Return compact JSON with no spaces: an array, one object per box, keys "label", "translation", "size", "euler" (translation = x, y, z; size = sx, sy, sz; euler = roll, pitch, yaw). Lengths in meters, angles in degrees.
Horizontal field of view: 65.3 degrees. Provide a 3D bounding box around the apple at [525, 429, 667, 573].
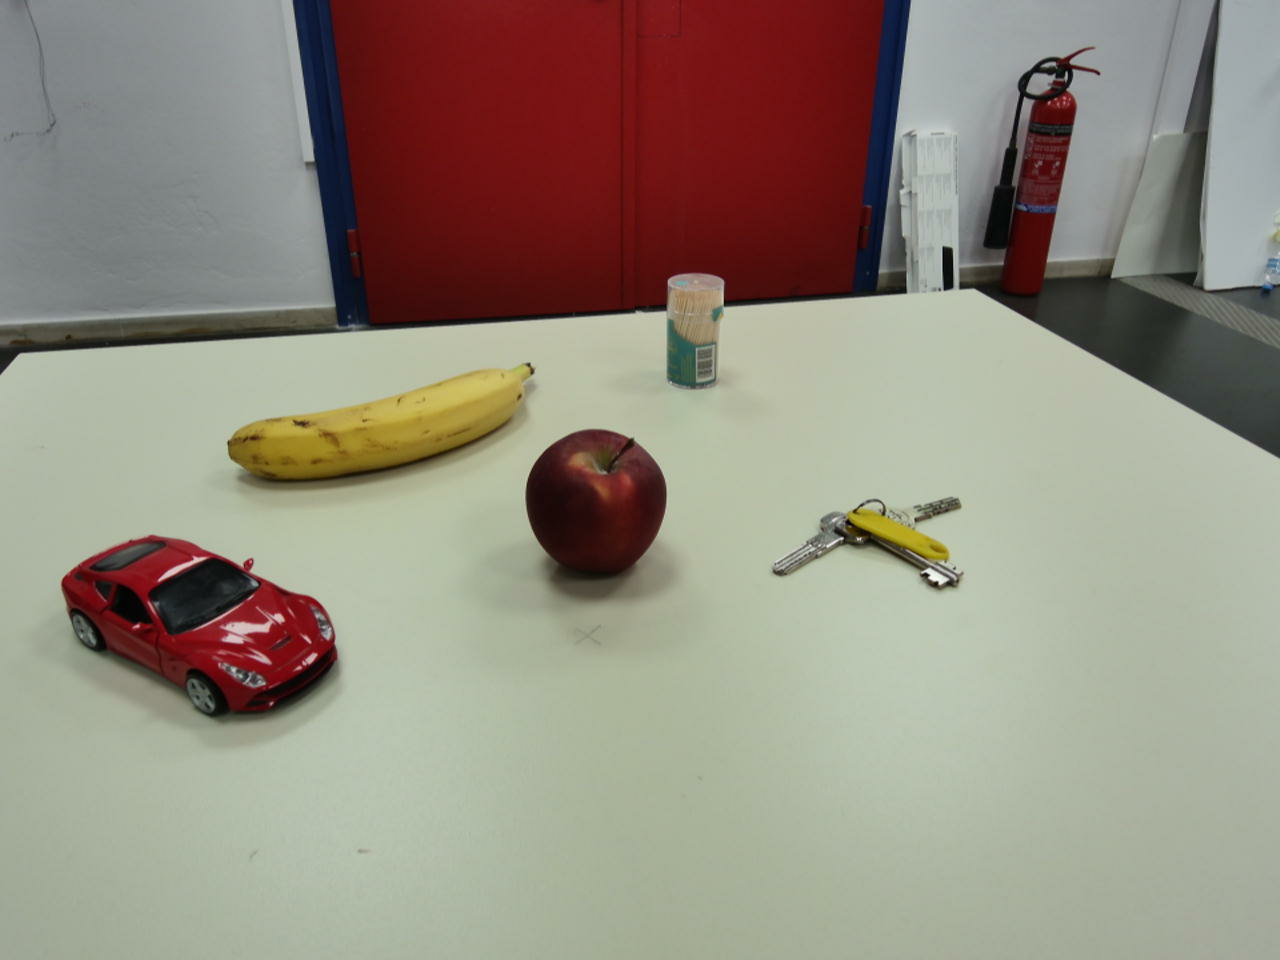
[{"label":"apple","translation":[-0.021,0.011,0.490],"size":[0.070,0.072,0.070],"euler":[1,26,0]}]
